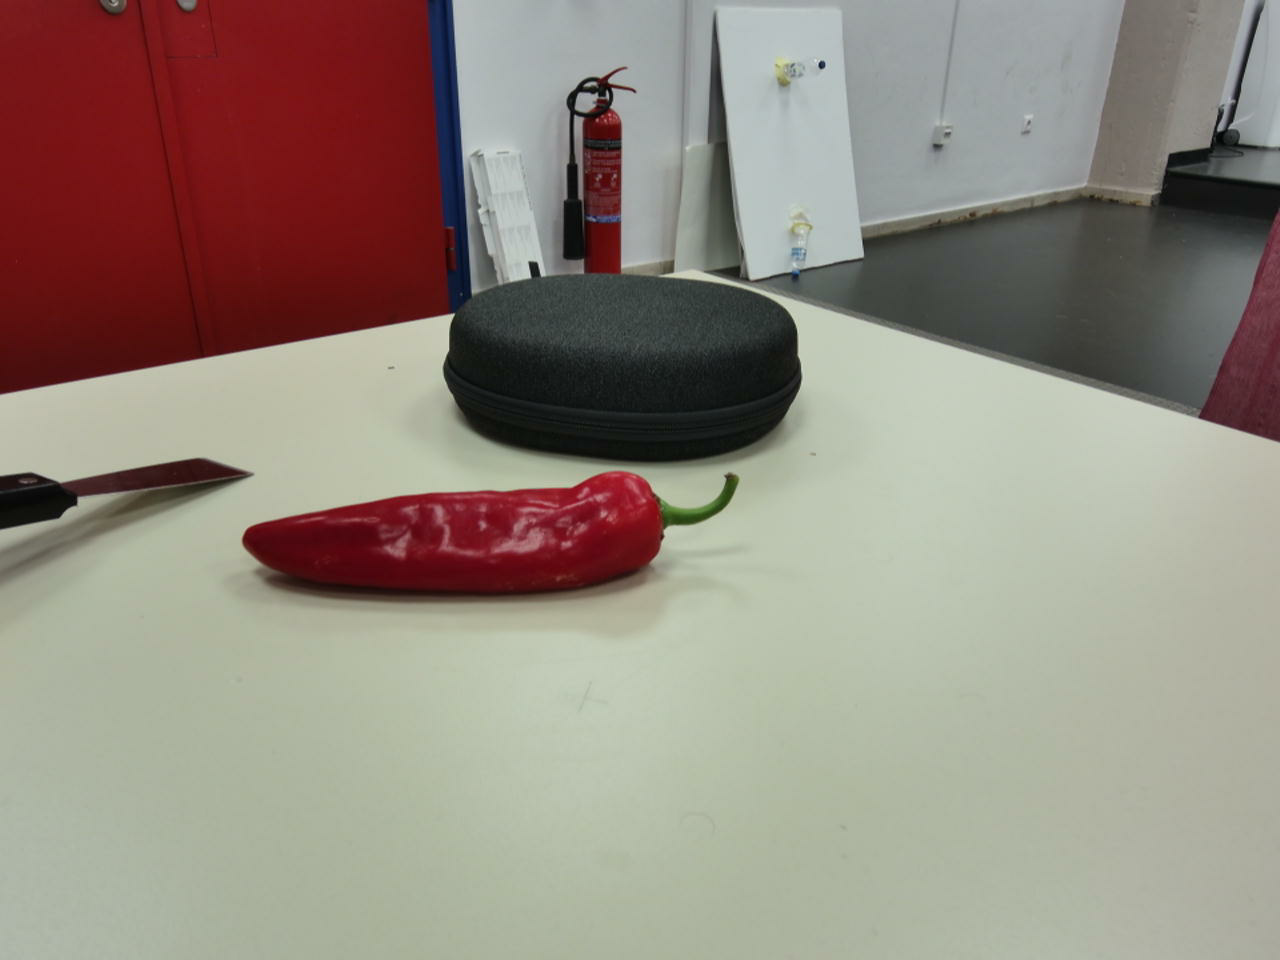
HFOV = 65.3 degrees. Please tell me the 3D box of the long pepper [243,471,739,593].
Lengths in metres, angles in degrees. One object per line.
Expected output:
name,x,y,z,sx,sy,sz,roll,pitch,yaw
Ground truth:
long pepper,-0.060,0.022,0.420,0.211,0.043,0.050,-3,24,-6
